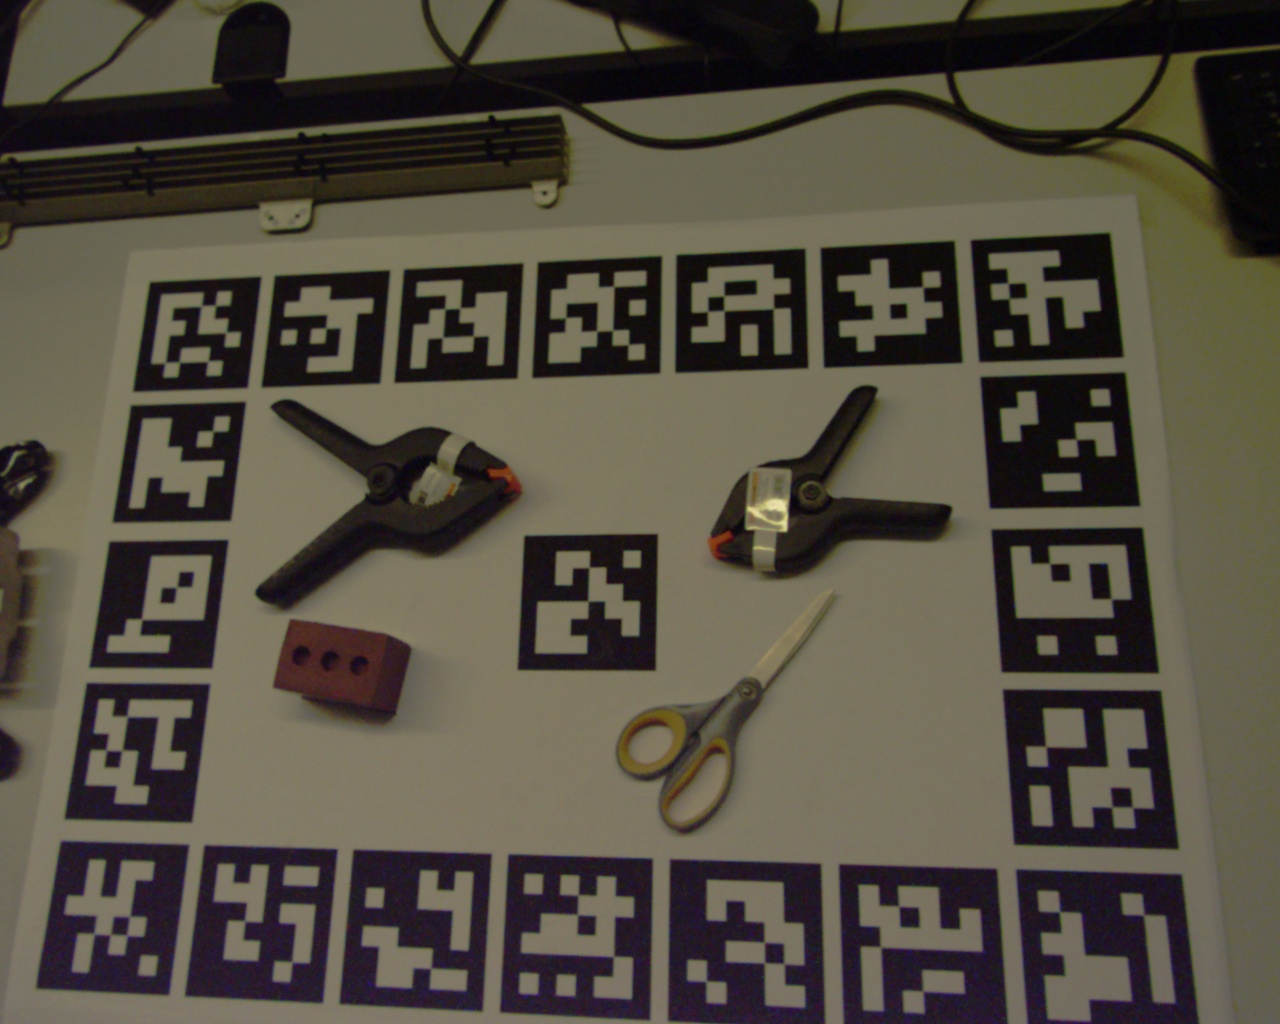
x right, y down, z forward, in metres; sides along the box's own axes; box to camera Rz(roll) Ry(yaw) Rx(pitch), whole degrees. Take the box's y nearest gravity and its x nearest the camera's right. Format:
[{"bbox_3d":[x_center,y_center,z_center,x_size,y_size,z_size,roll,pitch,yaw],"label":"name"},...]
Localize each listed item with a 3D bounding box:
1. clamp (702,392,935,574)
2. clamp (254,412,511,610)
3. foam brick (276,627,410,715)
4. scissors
[{"bbox_3d":[0.120,-0.004,0.854,0.165,0.036,0.122,-28,79,1],"label":"clamp"},{"bbox_3d":[-0.204,-0.009,0.903,0.203,0.036,0.166,-5,71,7],"label":"clamp"},{"bbox_3d":[-0.225,0.121,0.865,0.078,0.051,0.053,6,77,15],"label":"foam brick"},{"bbox_3d":[0.055,0.138,0.828,0.088,0.016,0.202,40,82,9],"label":"scissors"}]
